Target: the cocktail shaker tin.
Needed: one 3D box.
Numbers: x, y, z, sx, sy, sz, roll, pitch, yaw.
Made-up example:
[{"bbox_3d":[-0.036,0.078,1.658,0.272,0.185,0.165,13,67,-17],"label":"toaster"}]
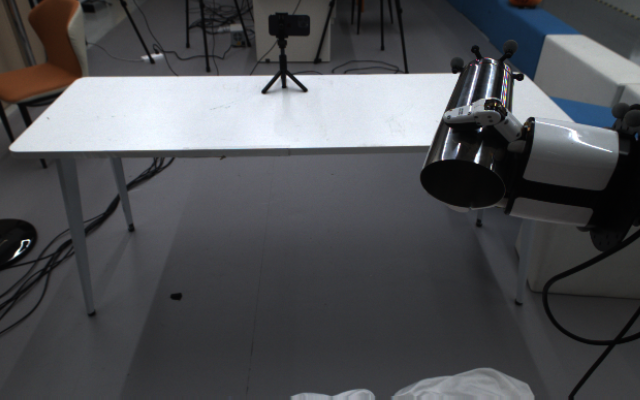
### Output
[{"bbox_3d":[0.184,-0.086,0.574,0.093,0.093,0.170,13,60,16],"label":"cocktail shaker tin"}]
